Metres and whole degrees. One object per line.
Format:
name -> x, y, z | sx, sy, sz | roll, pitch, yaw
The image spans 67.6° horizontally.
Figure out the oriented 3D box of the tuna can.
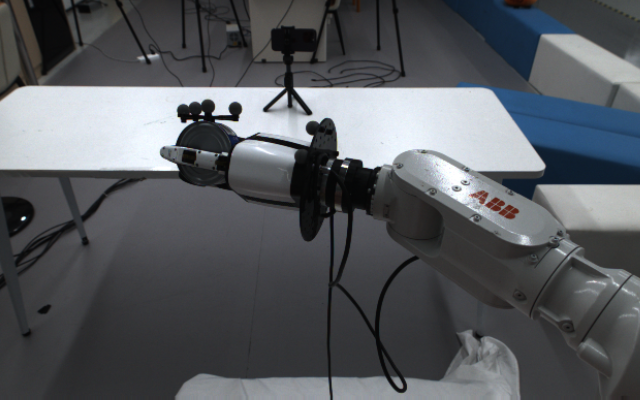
tuna can -> -0.148, -0.062, 0.651 | 0.085, 0.085, 0.034 | 15, 9, 18
